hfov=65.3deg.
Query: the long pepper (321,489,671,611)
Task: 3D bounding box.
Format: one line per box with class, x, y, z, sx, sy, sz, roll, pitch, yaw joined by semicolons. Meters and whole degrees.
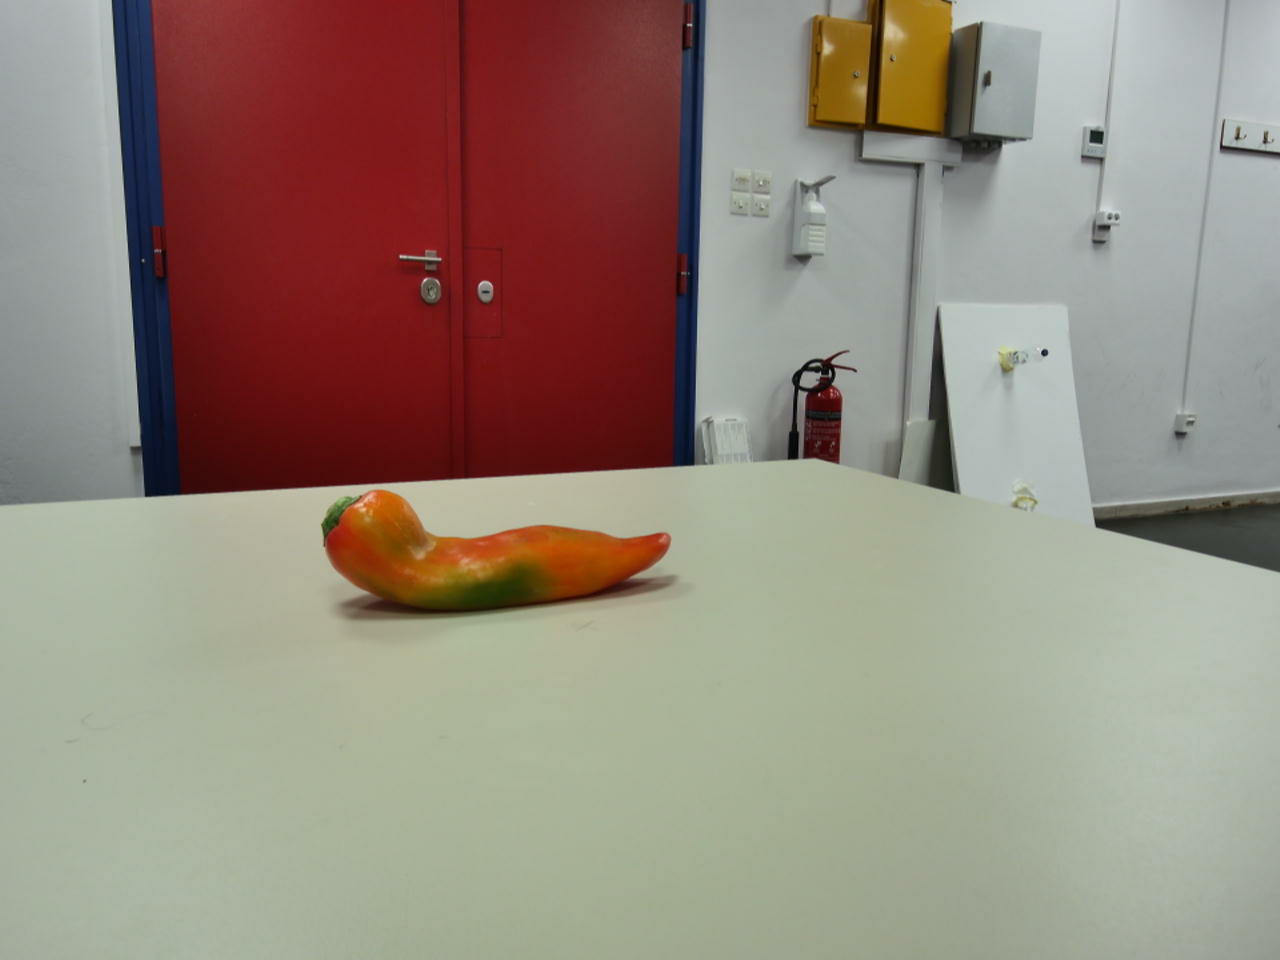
long pepper;-0.073;0.034;0.559;0.199;0.065;0.066;-3;8;-19
